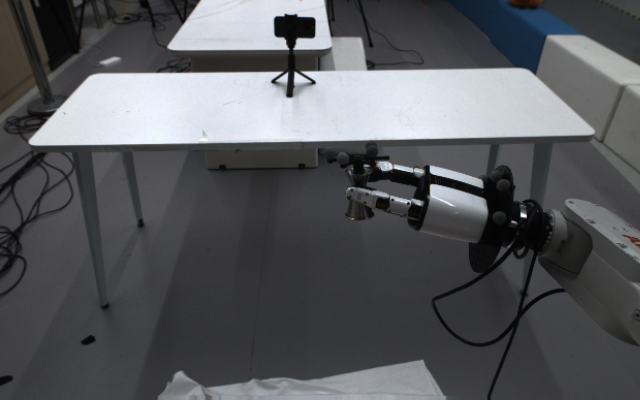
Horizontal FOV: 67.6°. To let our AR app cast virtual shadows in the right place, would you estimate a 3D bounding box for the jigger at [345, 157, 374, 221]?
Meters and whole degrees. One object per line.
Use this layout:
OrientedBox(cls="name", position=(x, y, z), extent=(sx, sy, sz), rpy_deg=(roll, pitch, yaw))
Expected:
OrientedBox(cls="jigger", position=(0.057, -0.010, 0.704), extent=(0.043, 0.071, 0.043), rpy_deg=(-2, 19, 1))
